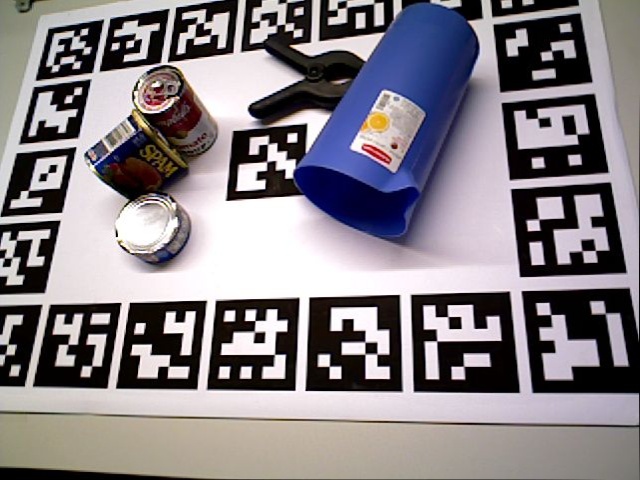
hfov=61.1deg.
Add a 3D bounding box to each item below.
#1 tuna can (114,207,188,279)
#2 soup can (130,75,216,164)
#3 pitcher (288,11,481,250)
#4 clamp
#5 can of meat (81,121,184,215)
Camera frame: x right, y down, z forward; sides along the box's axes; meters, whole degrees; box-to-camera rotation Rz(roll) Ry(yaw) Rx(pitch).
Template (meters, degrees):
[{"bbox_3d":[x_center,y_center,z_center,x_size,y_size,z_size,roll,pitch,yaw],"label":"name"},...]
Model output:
[{"bbox_3d":[-0.208,0.004,0.673,0.086,0.034,0.085,-5,71,12],"label":"tuna can"},{"bbox_3d":[-0.183,-0.149,0.687,0.068,0.102,0.067,-5,70,14],"label":"soup can"},{"bbox_3d":[0.074,-0.122,0.590,0.190,0.134,0.239,10,64,40],"label":"pitcher"},{"bbox_3d":[-0.020,-0.197,0.708,0.165,0.037,0.120,0,66,10],"label":"clamp"},{"bbox_3d":[-0.231,-0.084,0.671,0.084,0.102,0.057,-38,67,1],"label":"can of meat"}]
